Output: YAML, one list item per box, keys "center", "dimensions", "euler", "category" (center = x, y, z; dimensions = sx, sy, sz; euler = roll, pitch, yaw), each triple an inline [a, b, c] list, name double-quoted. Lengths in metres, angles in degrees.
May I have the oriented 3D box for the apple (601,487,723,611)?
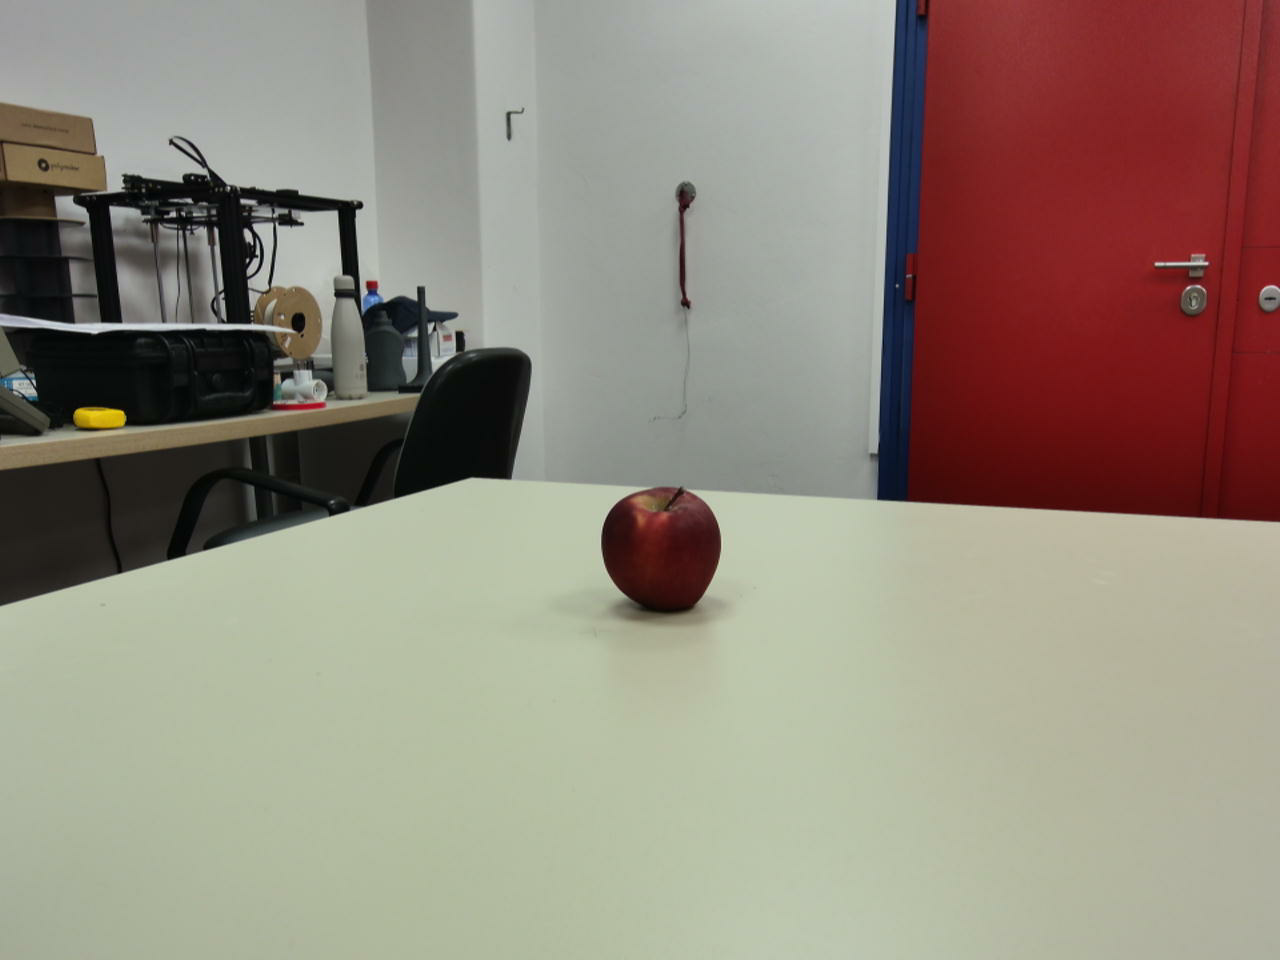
- center: [0.013, 0.039, 0.579]
  dimensions: [0.070, 0.072, 0.070]
  euler: [0, 7, 0]
  category: "apple"
